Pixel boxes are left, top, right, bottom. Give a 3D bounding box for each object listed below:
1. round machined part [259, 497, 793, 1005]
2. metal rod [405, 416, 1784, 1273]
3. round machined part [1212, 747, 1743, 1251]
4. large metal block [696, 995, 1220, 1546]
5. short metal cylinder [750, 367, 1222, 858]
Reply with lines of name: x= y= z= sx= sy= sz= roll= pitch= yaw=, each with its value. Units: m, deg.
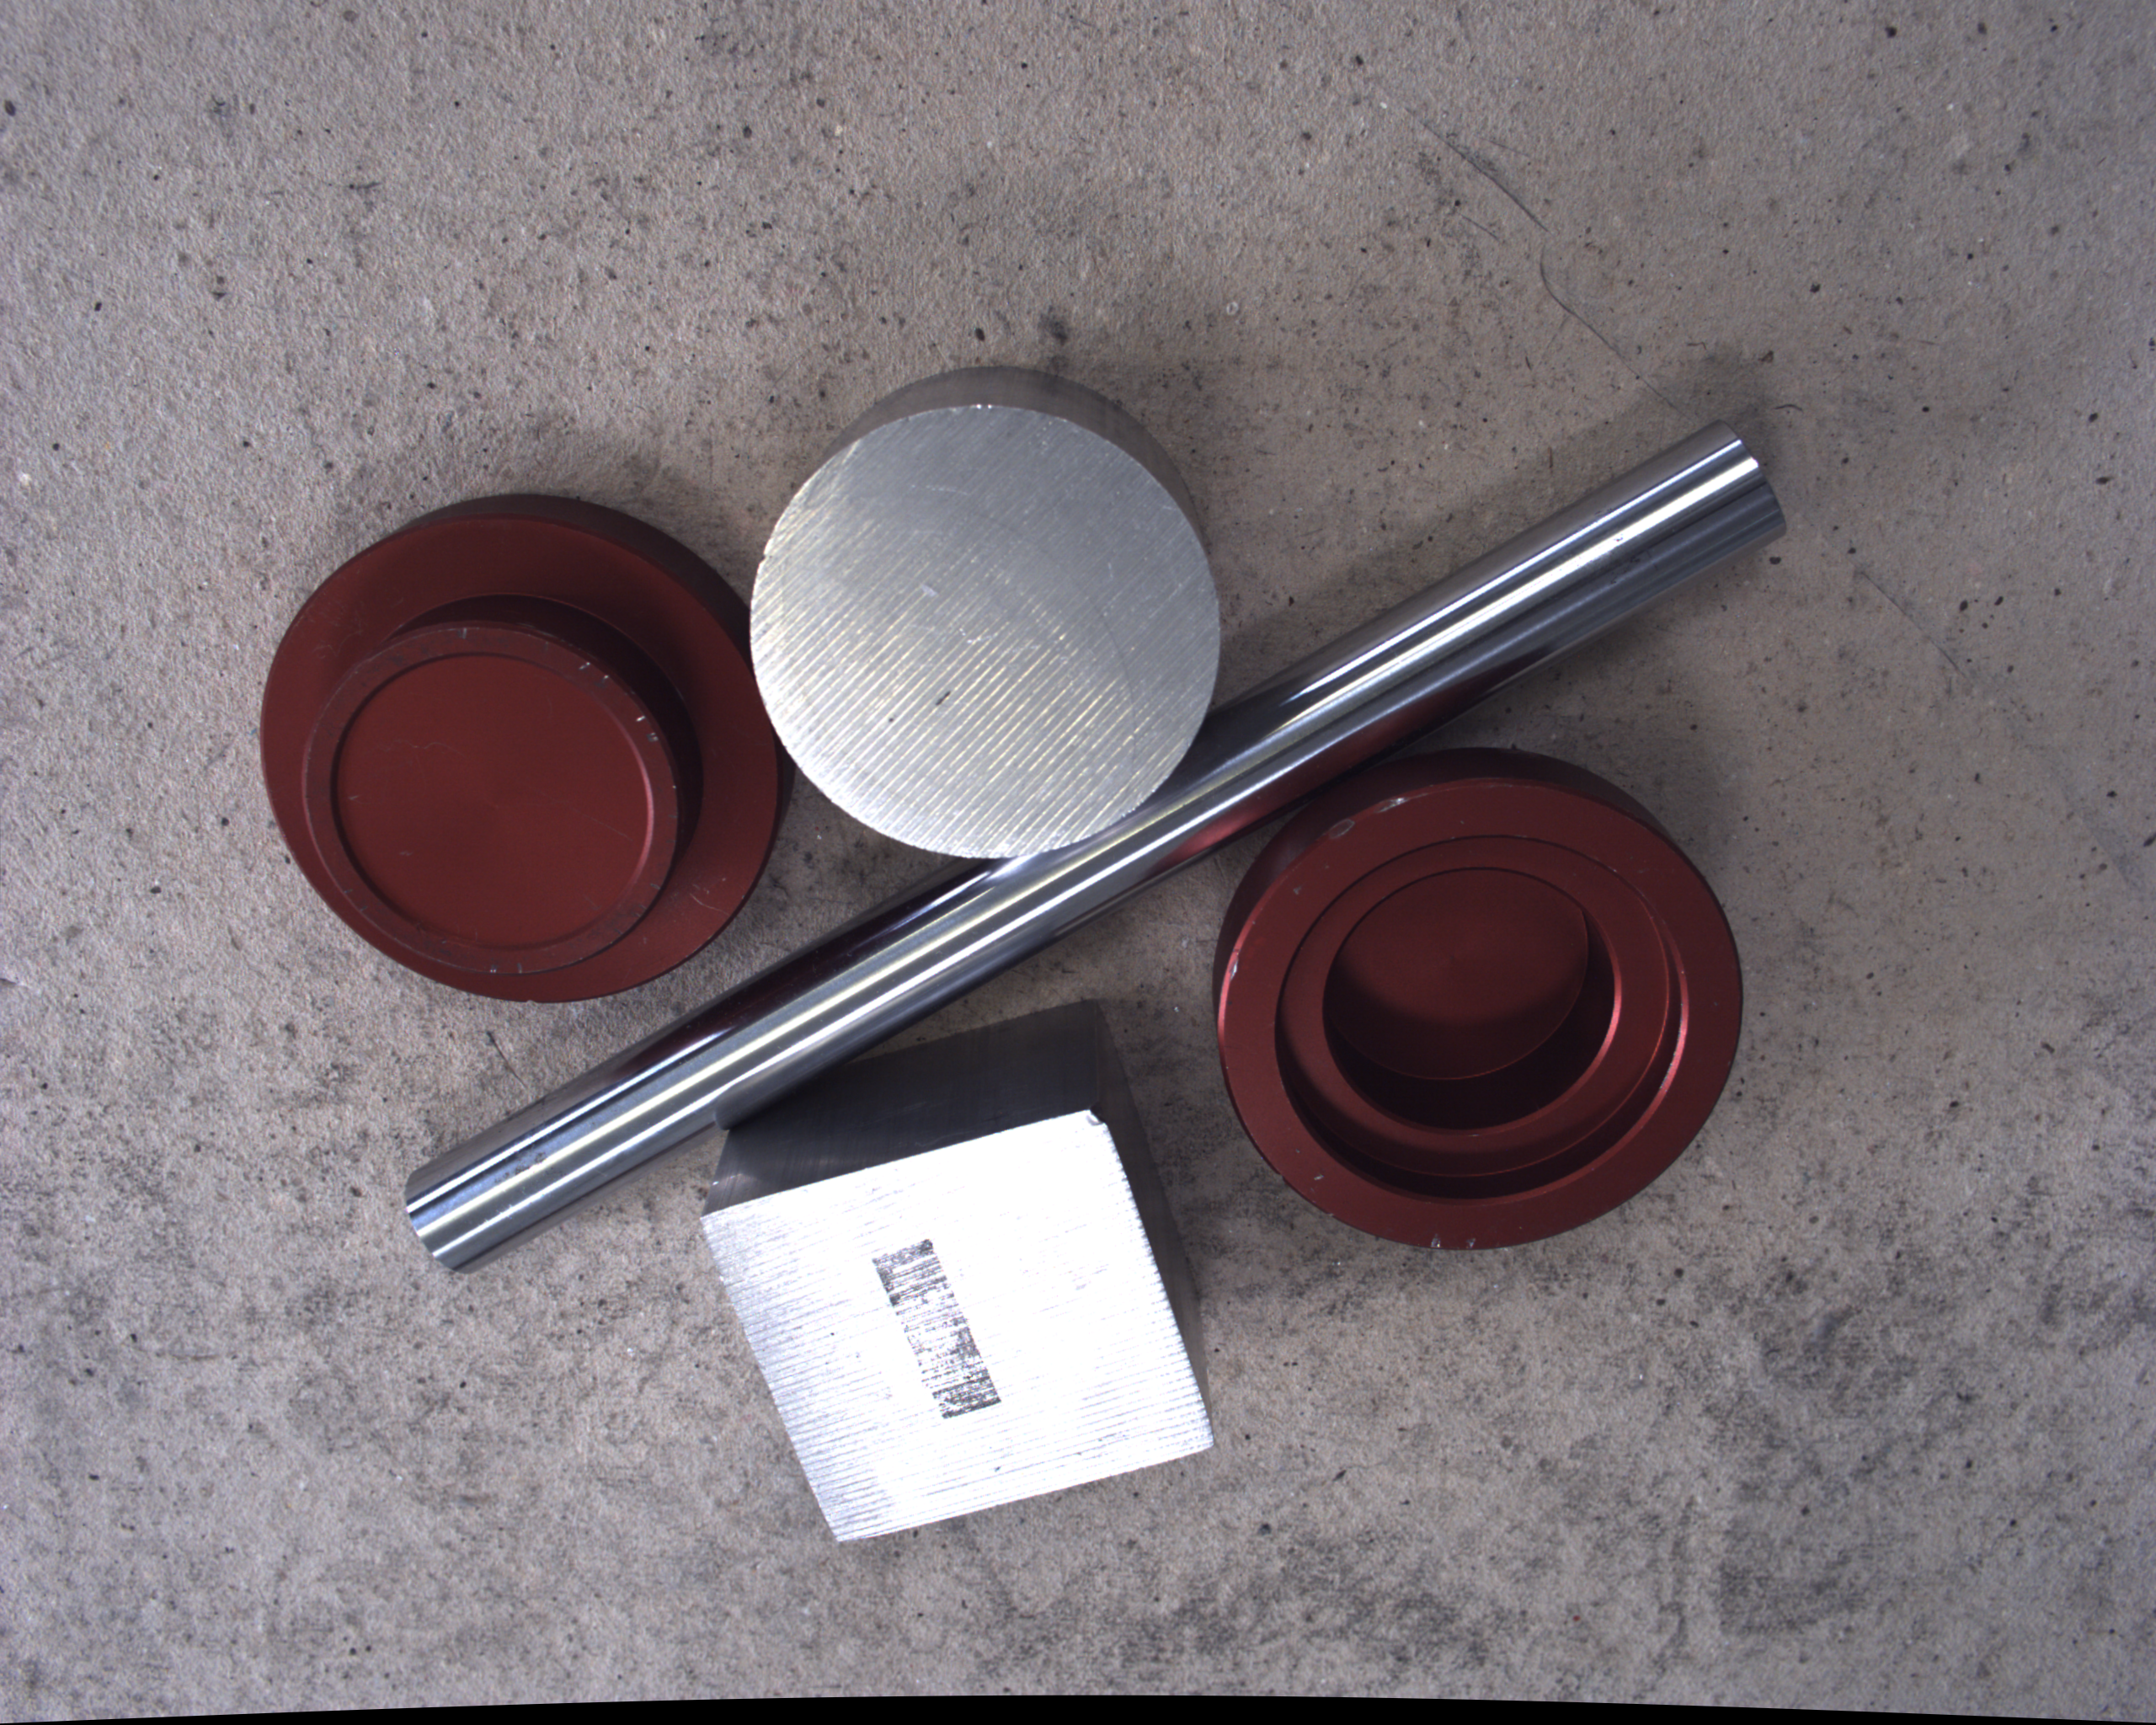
round machined part: x=-0.105 y=-0.017 z=0.394 sx=0.099 sy=0.042 sz=0.097 roll=0 pitch=110 yaw=0
metal rod: x=-0.004 y=0.002 z=0.412 sx=0.300 sy=0.025 sz=0.025 roll=-30 pitch=108 yaw=10
round machined part: x=0.076 y=0.024 z=0.411 sx=0.099 sy=0.042 sz=0.097 roll=0 pitch=110 yaw=0
large metal block: x=-0.022 y=0.083 z=0.429 sx=0.080 sy=0.050 sz=0.080 roll=-16 pitch=110 yaw=6
short metal cylinder: x=-0.016 y=-0.047 z=0.380 sx=0.081 sy=0.050 sz=0.079 roll=0 pitch=110 yaw=0
